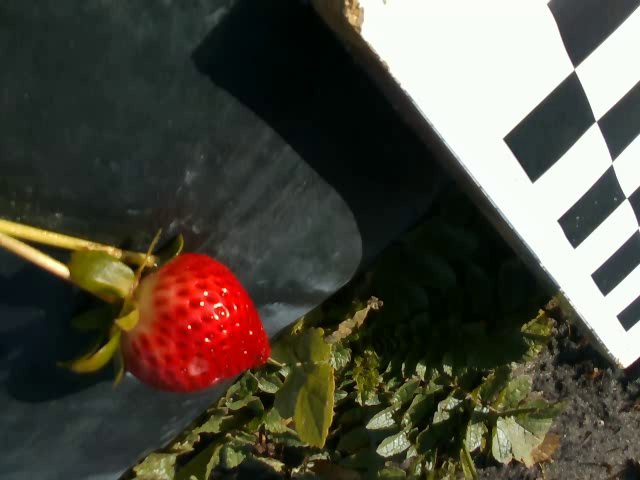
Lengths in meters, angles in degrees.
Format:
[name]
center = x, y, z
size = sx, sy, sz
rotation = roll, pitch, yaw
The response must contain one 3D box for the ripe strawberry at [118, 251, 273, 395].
[ripe strawberry]
center = -0.028, 0.022, 0.152
size = 0.044, 0.040, 0.037
rotation = 18, 25, -29
